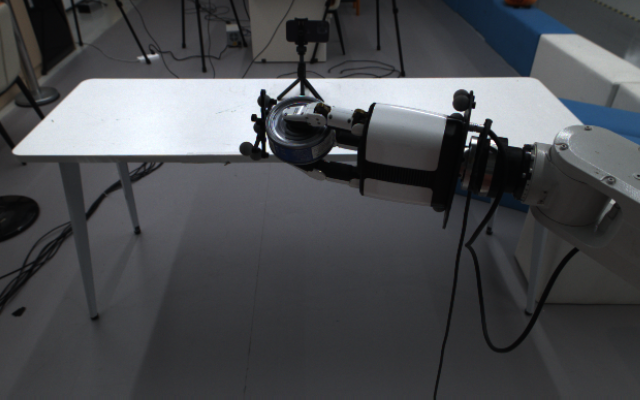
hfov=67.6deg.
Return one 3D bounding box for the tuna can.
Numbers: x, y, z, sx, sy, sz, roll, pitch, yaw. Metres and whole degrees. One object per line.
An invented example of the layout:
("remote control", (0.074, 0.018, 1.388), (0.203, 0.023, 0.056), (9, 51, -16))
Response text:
("tuna can", (-0.023, -0.089, 0.600), (0.085, 0.034, 0.085), (-2, 57, 3))
